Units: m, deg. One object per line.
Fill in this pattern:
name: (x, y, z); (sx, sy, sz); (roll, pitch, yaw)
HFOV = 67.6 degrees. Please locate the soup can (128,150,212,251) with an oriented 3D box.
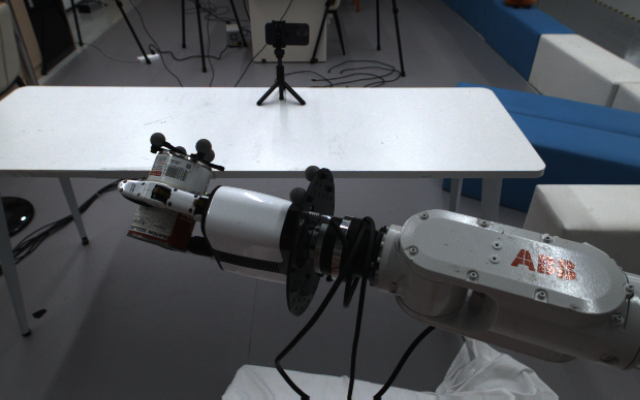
soup can: (-0.170, 0.004, 0.556); (0.067, 0.067, 0.101); (13, 77, 15)
